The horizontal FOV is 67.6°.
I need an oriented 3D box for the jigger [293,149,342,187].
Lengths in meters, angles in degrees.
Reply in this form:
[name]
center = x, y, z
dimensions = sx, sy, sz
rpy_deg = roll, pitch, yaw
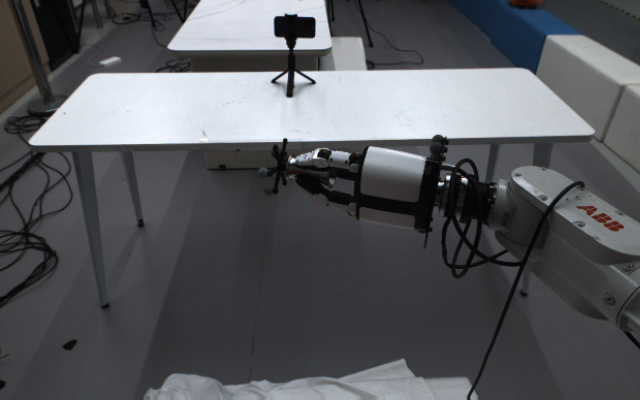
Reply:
[jigger]
center = -0.007, -0.049, 0.728
dimensions = 0.071, 0.043, 0.043
rpy_deg = 10, 35, 16
